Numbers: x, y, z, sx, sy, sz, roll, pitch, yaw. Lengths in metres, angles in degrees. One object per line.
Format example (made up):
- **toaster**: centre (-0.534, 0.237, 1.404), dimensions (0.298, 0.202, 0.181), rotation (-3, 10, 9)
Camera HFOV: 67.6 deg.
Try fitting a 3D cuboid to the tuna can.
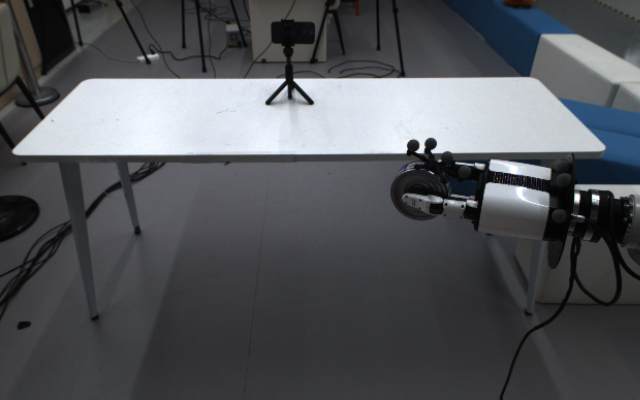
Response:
- **tuna can**: centre (0.152, -0.008, 0.710), dimensions (0.085, 0.085, 0.034), rotation (15, 31, 18)
